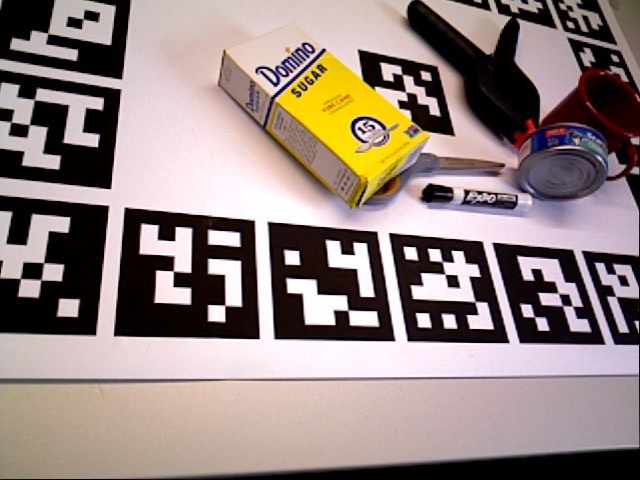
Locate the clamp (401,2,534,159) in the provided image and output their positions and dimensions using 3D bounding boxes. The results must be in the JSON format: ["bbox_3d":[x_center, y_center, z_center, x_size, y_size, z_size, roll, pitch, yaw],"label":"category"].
[{"bbox_3d":[0.193,-0.188,0.630,0.162,0.037,0.201,-6,68,-25],"label":"clamp"}]

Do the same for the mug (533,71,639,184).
[{"bbox_3d":[0.296,-0.113,0.598,0.091,0.083,0.117,-24,72,-31],"label":"mug"}]

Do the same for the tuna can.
[{"bbox_3d":[0.248,-0.072,0.551,0.085,0.088,0.033,20,58,-12],"label":"tuna can"}]

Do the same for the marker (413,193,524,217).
[{"bbox_3d":[0.145,-0.034,0.531,0.119,0.020,0.019,1,65,-21],"label":"marker"}]

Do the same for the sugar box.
[{"bbox_3d":[0.004,-0.111,0.491,0.091,0.046,0.176,-35,75,-33],"label":"sugar box"}]

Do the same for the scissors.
[{"bbox_3d":[0.100,-0.076,0.531,0.199,0.016,0.087,-5,63,-26],"label":"scissors"}]
